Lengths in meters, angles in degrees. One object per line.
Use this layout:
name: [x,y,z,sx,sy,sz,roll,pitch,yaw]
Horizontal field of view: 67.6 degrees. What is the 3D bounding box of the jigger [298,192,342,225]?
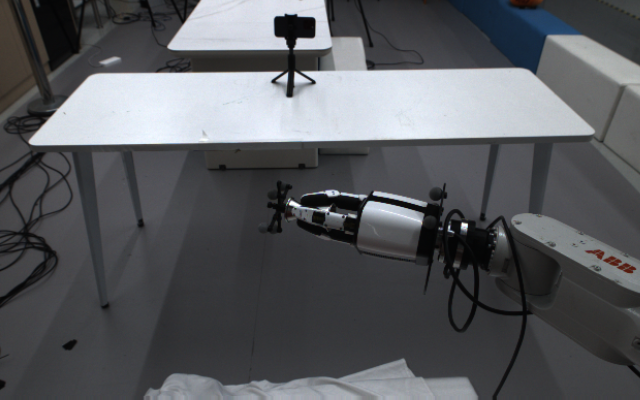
jigger: [-0.009,0.017,0.726,0.071,0.043,0.043,10,35,16]
